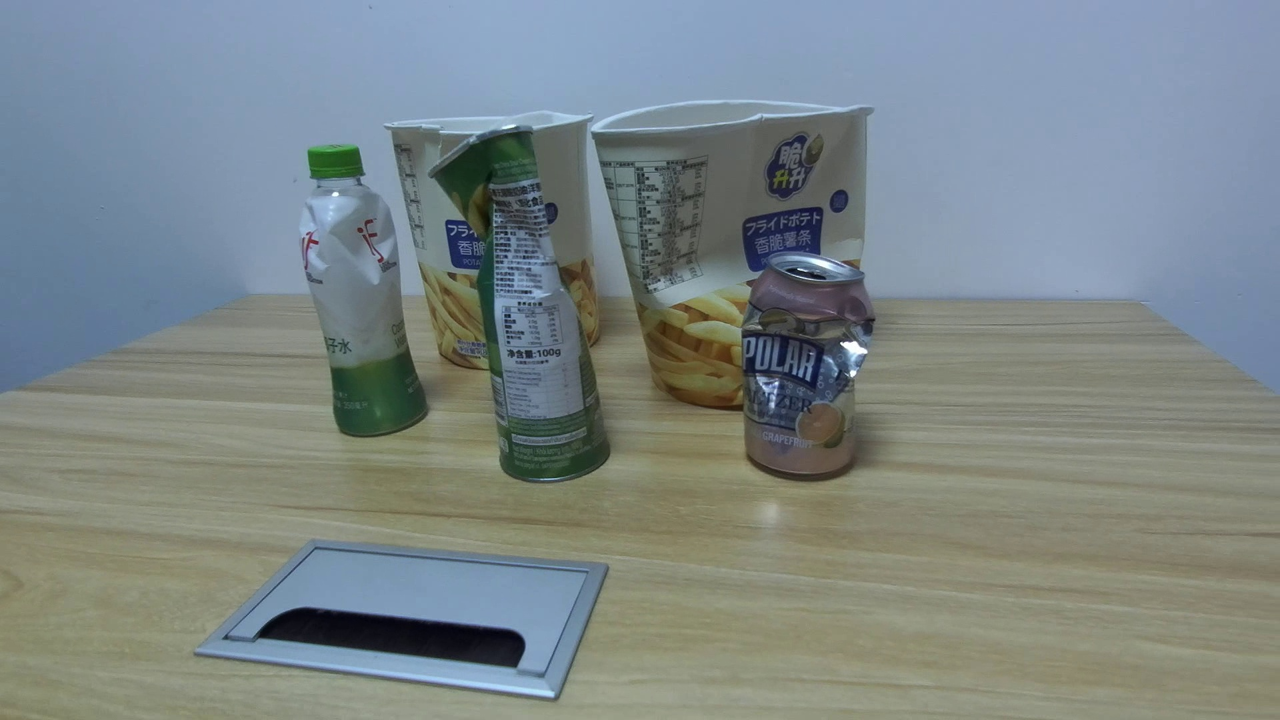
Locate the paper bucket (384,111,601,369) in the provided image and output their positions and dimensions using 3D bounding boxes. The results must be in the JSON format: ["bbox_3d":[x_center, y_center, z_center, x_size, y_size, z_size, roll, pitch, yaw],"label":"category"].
[{"bbox_3d":[-0.116,-0.108,0.623,0.146,0.197,0.201,-18,25,-30],"label":"paper bucket"}]

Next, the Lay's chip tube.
[{"bbox_3d":[-0.068,-0.029,0.411,0.071,0.199,0.079,-9,19,5],"label":"Lay's chip tube"}]

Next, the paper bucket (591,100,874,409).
[{"bbox_3d":[0.079,-0.082,0.514,0.147,0.199,0.218,7,24,24],"label":"paper bucket"}]

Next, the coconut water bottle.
[{"bbox_3d":[-0.188,-0.045,0.473,0.067,0.187,0.067,-3,20,1],"label":"coconut water bottle"}]
